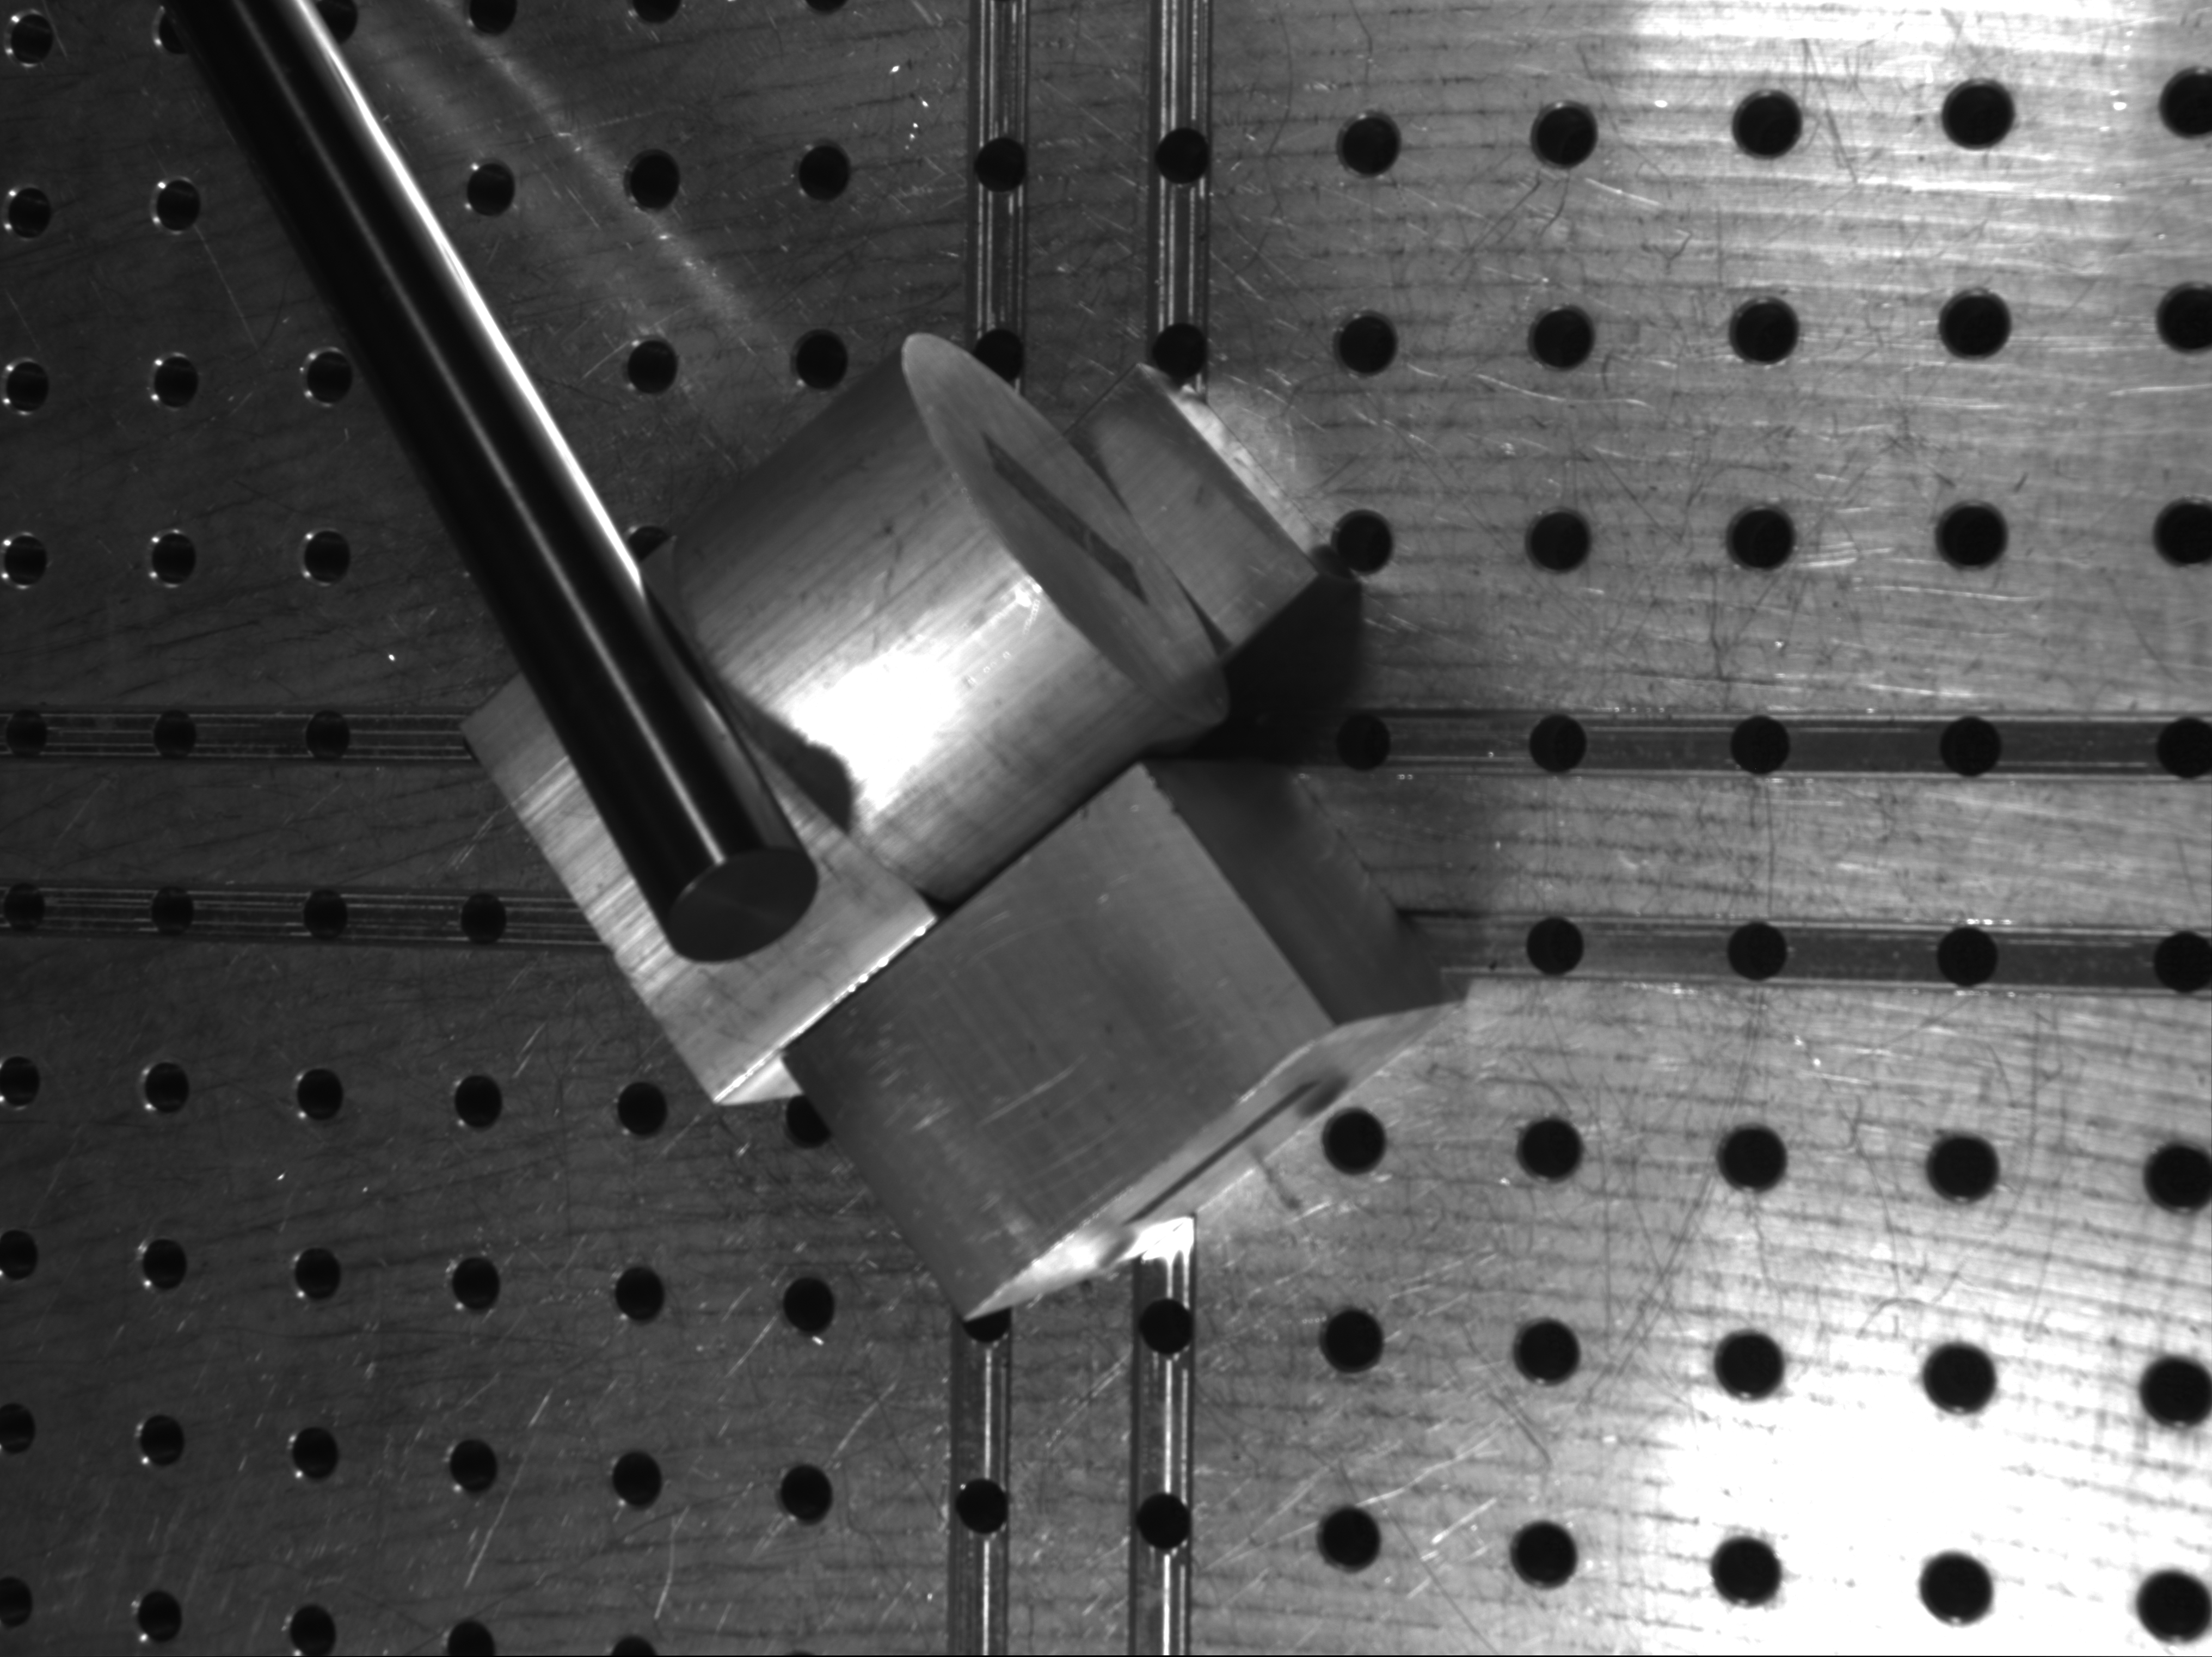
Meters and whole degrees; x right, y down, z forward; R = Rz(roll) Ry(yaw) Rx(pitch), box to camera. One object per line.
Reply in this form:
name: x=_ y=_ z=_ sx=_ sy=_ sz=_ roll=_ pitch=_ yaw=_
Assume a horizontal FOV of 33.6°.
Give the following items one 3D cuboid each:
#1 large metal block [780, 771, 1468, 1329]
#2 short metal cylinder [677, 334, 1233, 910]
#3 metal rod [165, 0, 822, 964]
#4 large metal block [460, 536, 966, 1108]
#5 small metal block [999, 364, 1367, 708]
large metal block: x=0.005 y=0.035 z=0.614 sx=0.080 sy=0.080 sz=0.050 roll=-39 pitch=78 yaw=15
short metal cylinder: x=-0.024 y=-0.034 z=0.599 sx=0.050 sy=0.080 sz=0.080 roll=-38 pitch=78 yaw=16
metal rod: x=-0.122 y=-0.093 z=0.635 sx=0.025 sy=0.025 sz=0.299 roll=-43 pitch=55 yaw=15
large metal block: x=-0.053 y=-0.001 z=0.637 sx=0.050 sy=0.080 sz=0.080 roll=-39 pitch=78 yaw=15
small metal block: x=0.008 y=-0.045 z=0.644 sx=0.050 sy=0.025 sz=0.050 roll=-43 pitch=77 yaw=14
